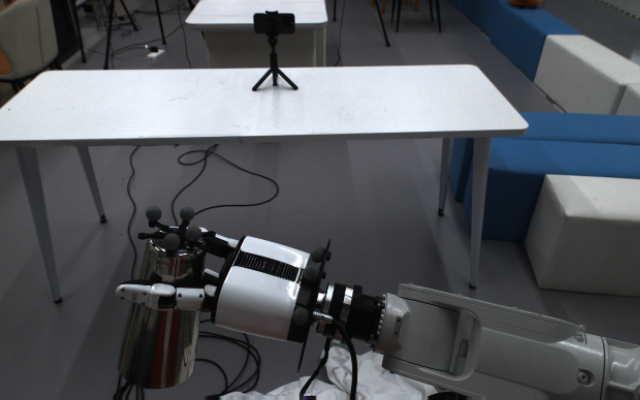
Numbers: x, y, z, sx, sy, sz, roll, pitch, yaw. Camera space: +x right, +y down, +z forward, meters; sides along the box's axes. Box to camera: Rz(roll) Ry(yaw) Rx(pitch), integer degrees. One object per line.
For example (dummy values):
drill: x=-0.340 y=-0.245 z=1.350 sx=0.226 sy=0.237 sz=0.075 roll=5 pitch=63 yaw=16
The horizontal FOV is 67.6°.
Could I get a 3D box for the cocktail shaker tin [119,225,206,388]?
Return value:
cocktail shaker tin: x=-0.181 y=0.123 z=0.578 sx=0.093 sy=0.170 sz=0.093 roll=14 pitch=18 yaw=-5
